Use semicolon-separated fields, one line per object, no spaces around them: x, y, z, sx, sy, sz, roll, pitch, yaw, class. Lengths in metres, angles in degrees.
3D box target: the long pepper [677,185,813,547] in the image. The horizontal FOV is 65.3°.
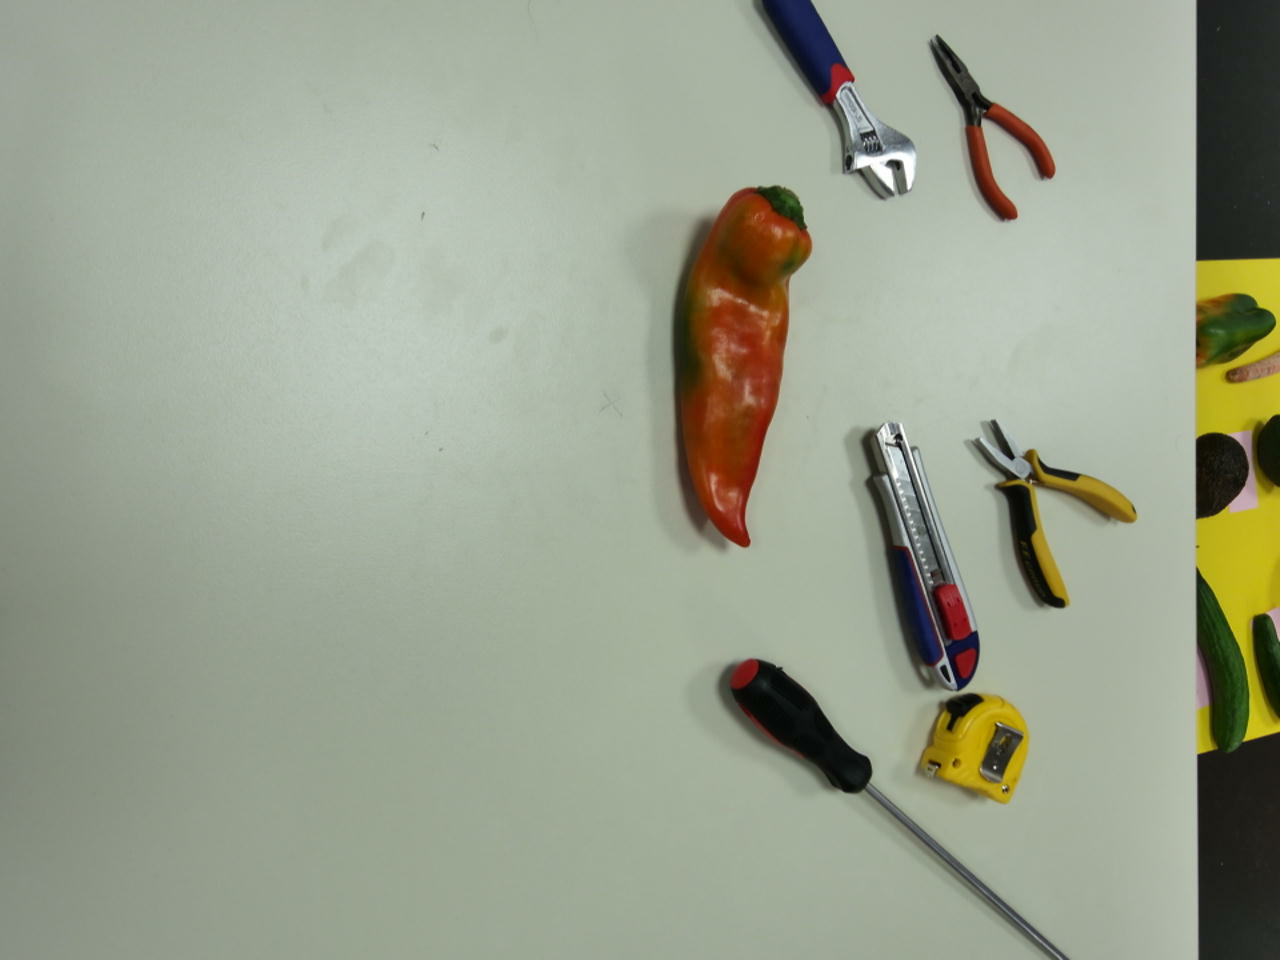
0.060;-0.063;0.558;0.066;0.065;0.199;5;89;-22;long pepper
